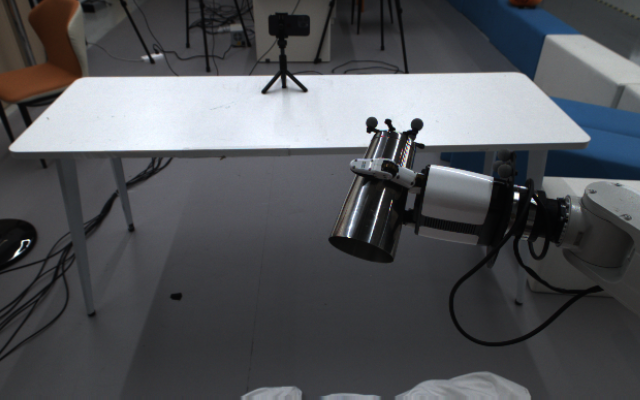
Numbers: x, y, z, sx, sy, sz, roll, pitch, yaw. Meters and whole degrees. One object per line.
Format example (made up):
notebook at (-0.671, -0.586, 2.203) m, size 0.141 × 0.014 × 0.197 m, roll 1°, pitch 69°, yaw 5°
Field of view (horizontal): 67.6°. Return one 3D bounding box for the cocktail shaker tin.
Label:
cocktail shaker tin at (0.080, -0.009, 0.674) m, size 0.093 × 0.093 × 0.170 m, roll 14°, pitch 70°, yaw 16°
